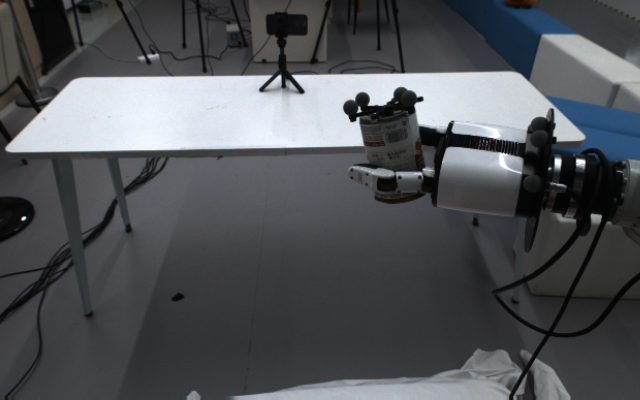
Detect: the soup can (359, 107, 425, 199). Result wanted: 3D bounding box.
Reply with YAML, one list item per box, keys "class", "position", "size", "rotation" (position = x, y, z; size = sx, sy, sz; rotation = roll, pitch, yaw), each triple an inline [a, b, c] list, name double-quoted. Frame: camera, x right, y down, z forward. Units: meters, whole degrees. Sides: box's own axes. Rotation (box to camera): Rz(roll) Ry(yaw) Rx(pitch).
- class: "soup can"
  position: [0.091, -0.055, 0.574]
  size: [0.067, 0.101, 0.067]
  rotation: [-13, 20, 5]
